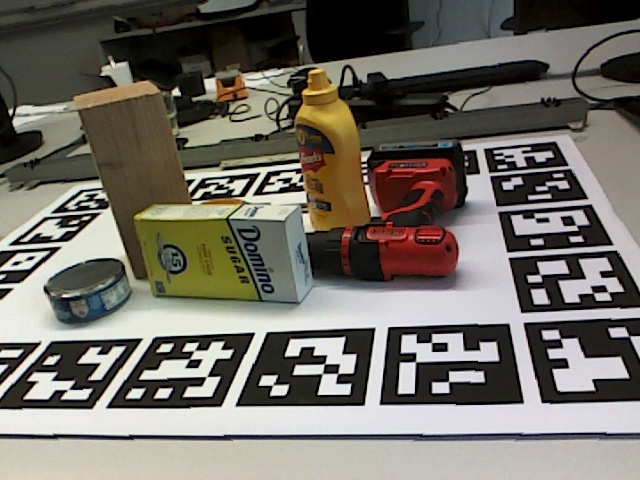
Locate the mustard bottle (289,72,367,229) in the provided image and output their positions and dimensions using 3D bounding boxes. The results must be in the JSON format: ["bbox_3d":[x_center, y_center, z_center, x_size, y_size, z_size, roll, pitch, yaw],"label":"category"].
[{"bbox_3d":[0.005,-0.101,0.726,0.058,0.191,0.097,-26,31,-24],"label":"mustard bottle"}]

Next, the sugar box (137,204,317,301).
[{"bbox_3d":[-0.097,0.012,0.645,0.177,0.092,0.045,2,27,21],"label":"sugar box"}]

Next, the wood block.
[{"bbox_3d":[-0.215,-0.067,0.735,0.091,0.205,0.090,-19,29,-14],"label":"wood block"}]

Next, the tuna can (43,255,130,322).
[{"bbox_3d":[-0.255,0.053,0.682,0.086,0.033,0.086,-9,28,4],"label":"tuna can"}]

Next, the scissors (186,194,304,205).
[{"bbox_3d":[-0.109,-0.049,0.843,0.203,0.016,0.088,-5,24,13],"label":"scissors"}]

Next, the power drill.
[{"bbox_3d":[0.056,-0.030,0.698,0.185,0.057,0.187,1,37,23],"label":"power drill"}]
